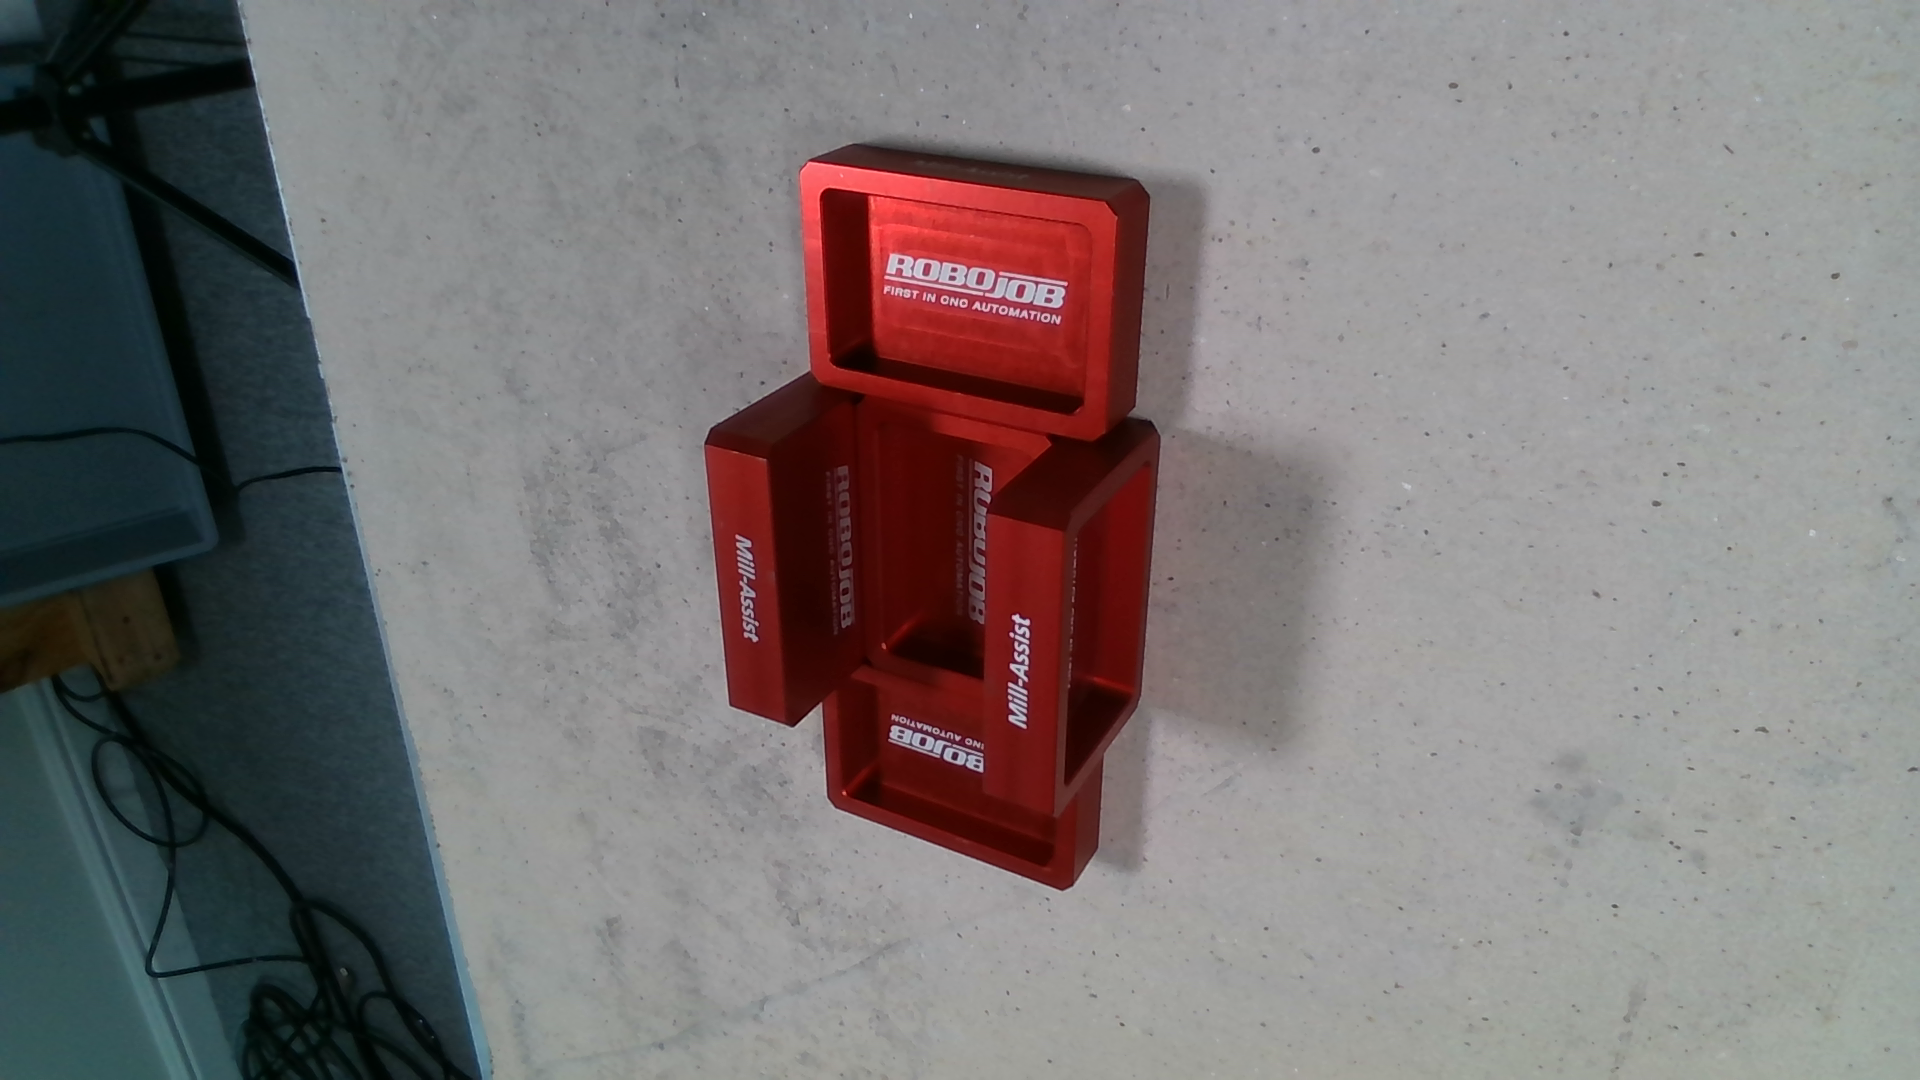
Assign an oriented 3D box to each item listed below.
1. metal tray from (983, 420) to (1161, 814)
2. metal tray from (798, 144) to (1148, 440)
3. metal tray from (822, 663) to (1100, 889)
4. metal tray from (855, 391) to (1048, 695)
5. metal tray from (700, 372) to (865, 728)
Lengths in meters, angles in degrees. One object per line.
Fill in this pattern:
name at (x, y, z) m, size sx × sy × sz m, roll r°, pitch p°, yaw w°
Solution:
metal tray at (0.043, 0.027, 0.527) m, size 0.030 × 0.090 × 0.130 m, roll 14°, pitch 122°, yaw 25°
metal tray at (0.003, -0.095, 0.523) m, size 0.130 × 0.030 × 0.090 m, roll 15°, pitch 122°, yaw 24°
metal tray at (0.000, 0.097, 0.631) m, size 0.130 × 0.030 × 0.090 m, roll 15°, pitch 122°, yaw 24°
metal tray at (0.004, 0.001, 0.575) m, size 0.090 × 0.030 × 0.130 m, roll 15°, pitch 122°, yaw 24°
metal tray at (-0.064, 0.001, 0.576) m, size 0.030 × 0.090 × 0.130 m, roll 15°, pitch 122°, yaw 25°
